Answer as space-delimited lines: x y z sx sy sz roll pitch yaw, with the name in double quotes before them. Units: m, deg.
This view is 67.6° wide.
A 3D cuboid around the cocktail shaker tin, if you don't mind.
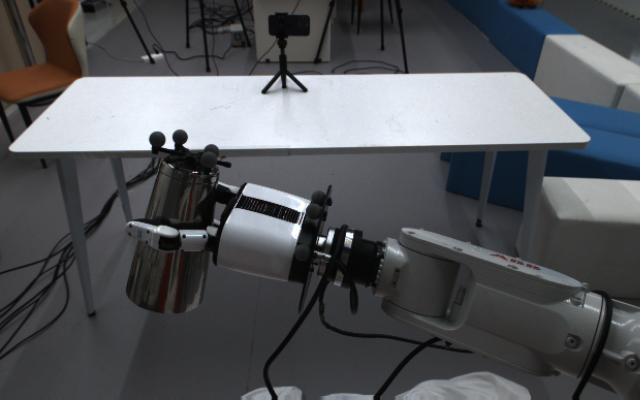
"cocktail shaker tin" -0.168 0.037 0.572 0.093 0.170 0.093 15 17 -5
